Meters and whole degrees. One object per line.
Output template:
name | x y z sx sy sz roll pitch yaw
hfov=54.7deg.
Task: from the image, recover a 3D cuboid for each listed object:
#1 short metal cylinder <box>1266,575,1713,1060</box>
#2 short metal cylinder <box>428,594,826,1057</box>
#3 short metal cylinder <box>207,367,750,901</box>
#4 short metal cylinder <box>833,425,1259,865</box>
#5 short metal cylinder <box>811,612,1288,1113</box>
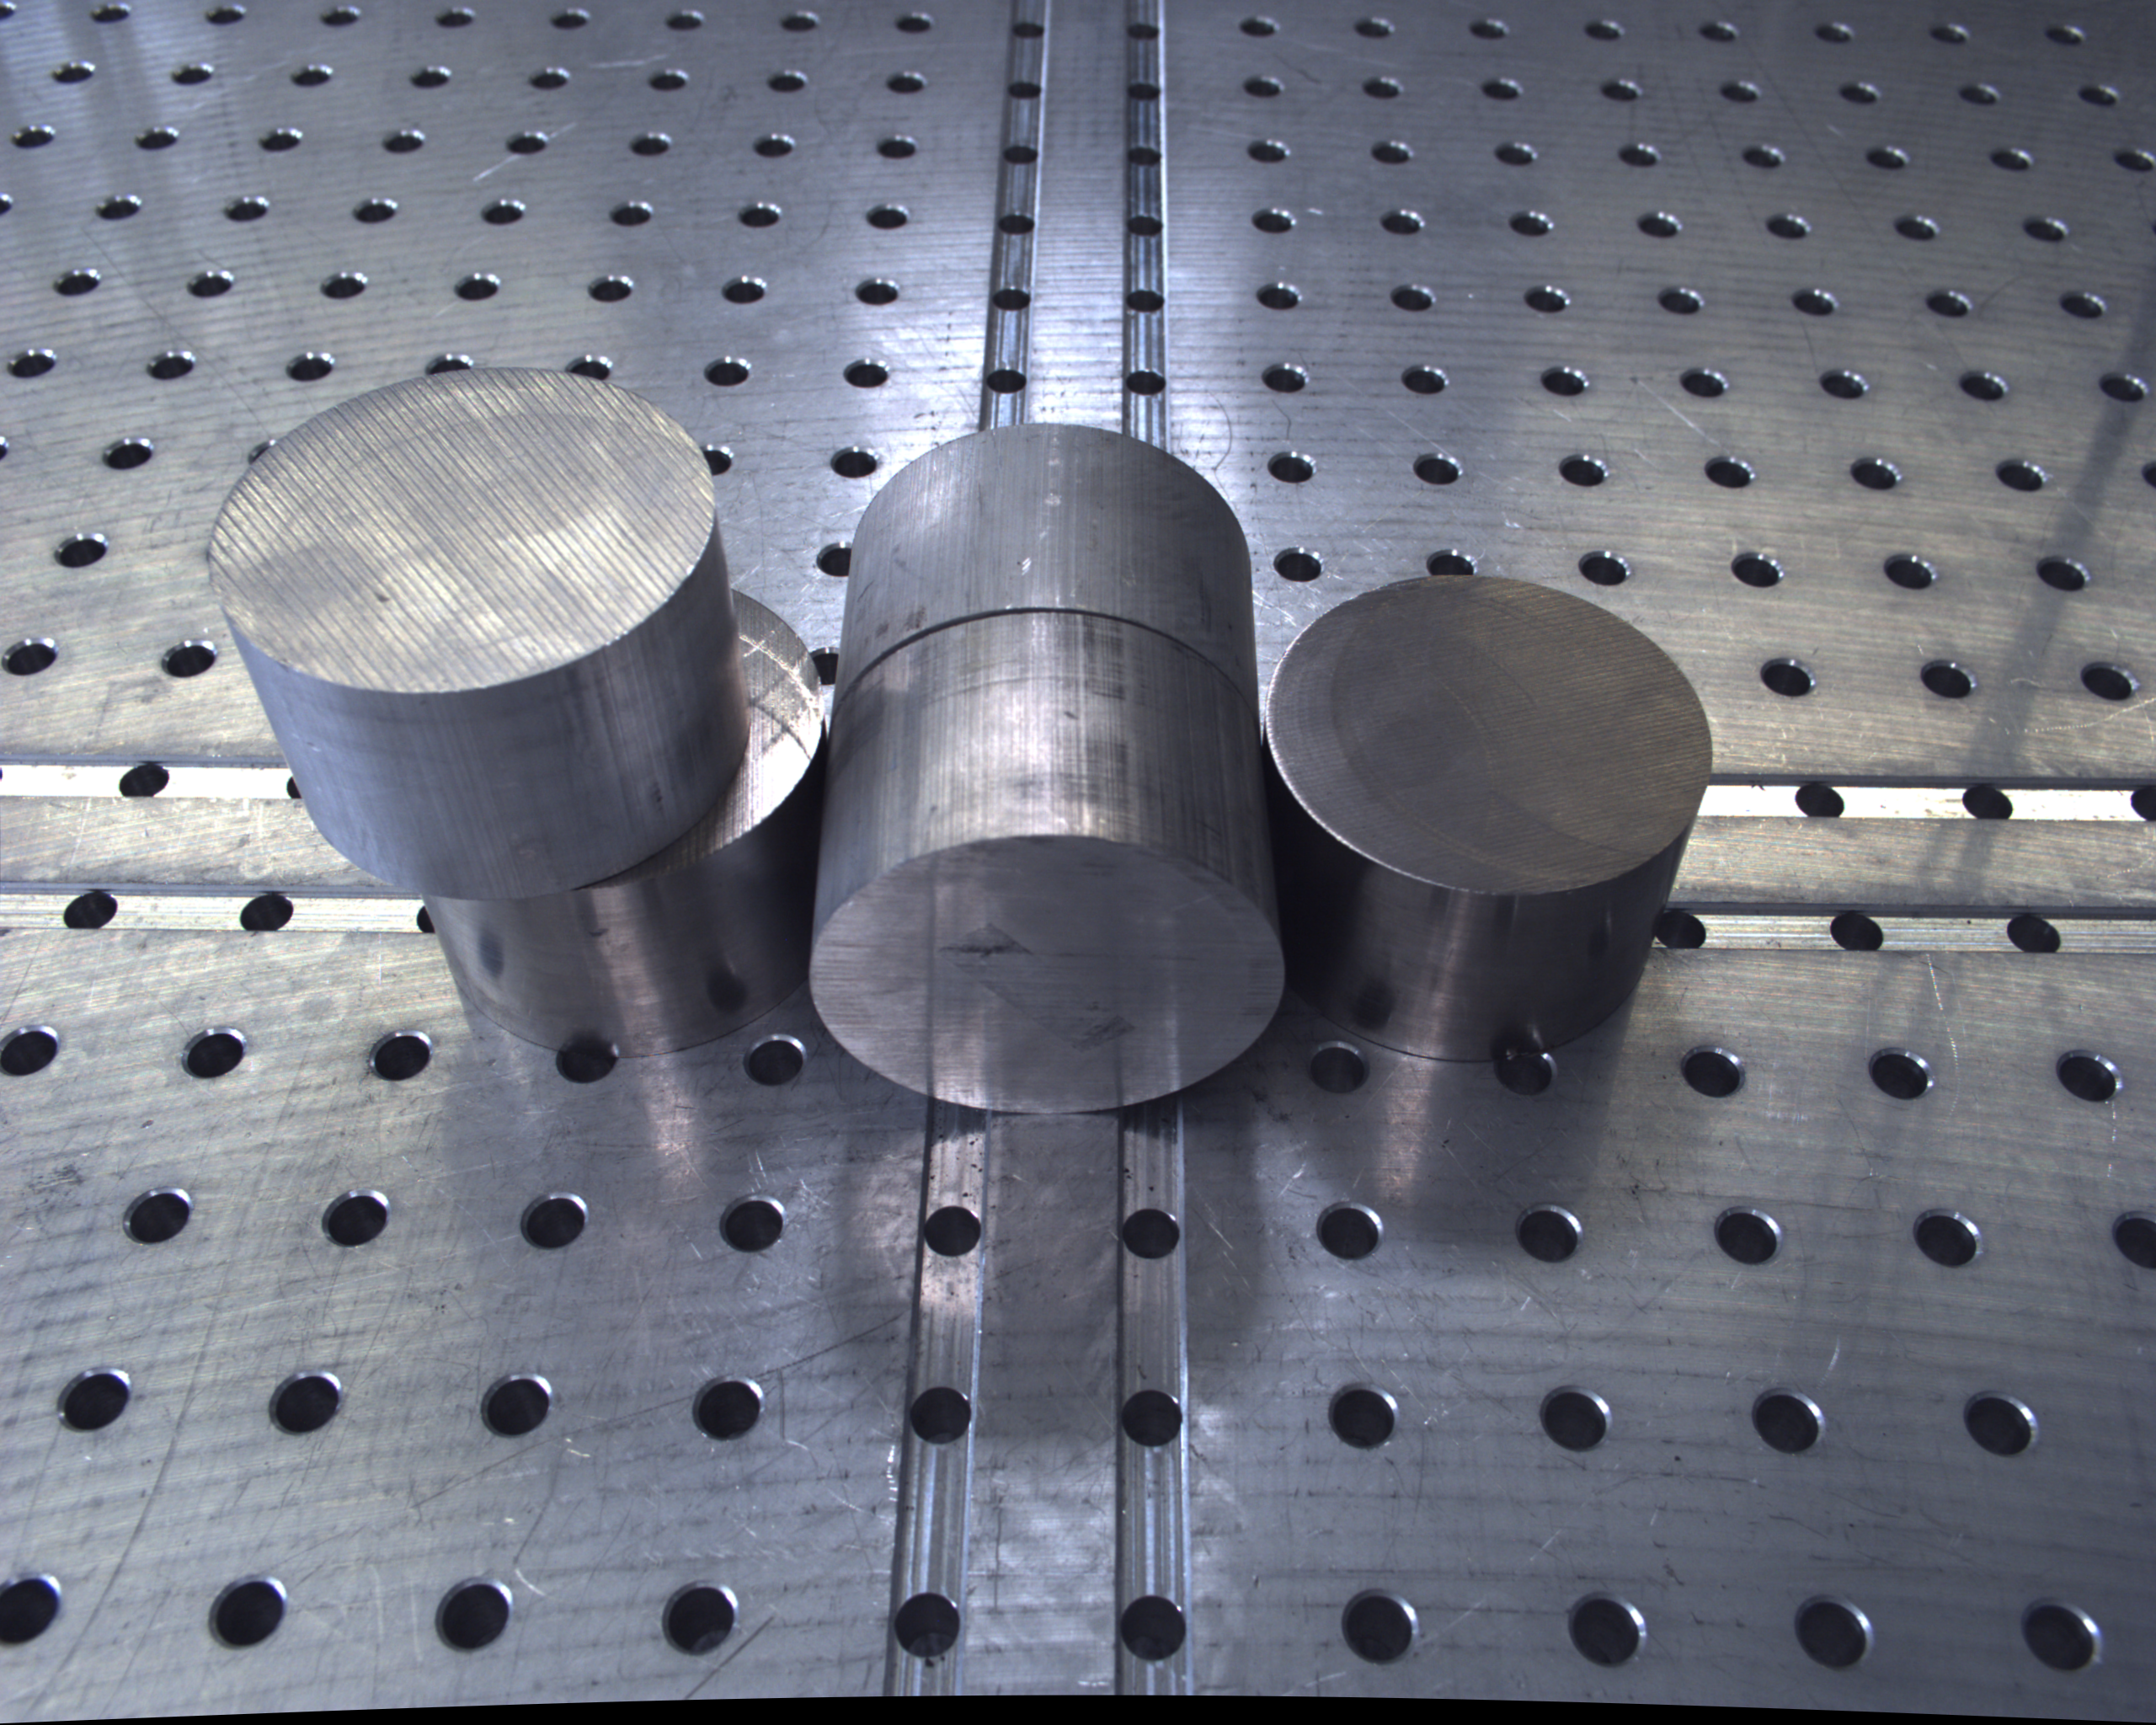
short metal cylinder | 0.075 -0.009 0.399 0.081 0.050 0.080 0 50 0
short metal cylinder | -0.087 -0.010 0.399 0.081 0.050 0.080 0 50 0
short metal cylinder | -0.099 -0.040 0.357 0.081 0.050 0.080 0 50 0
short metal cylinder | -0.006 -0.037 0.403 0.081 0.080 0.050 1 51 0
short metal cylinder | -0.005 0.002 0.370 0.081 0.080 0.050 -1 50 -1
